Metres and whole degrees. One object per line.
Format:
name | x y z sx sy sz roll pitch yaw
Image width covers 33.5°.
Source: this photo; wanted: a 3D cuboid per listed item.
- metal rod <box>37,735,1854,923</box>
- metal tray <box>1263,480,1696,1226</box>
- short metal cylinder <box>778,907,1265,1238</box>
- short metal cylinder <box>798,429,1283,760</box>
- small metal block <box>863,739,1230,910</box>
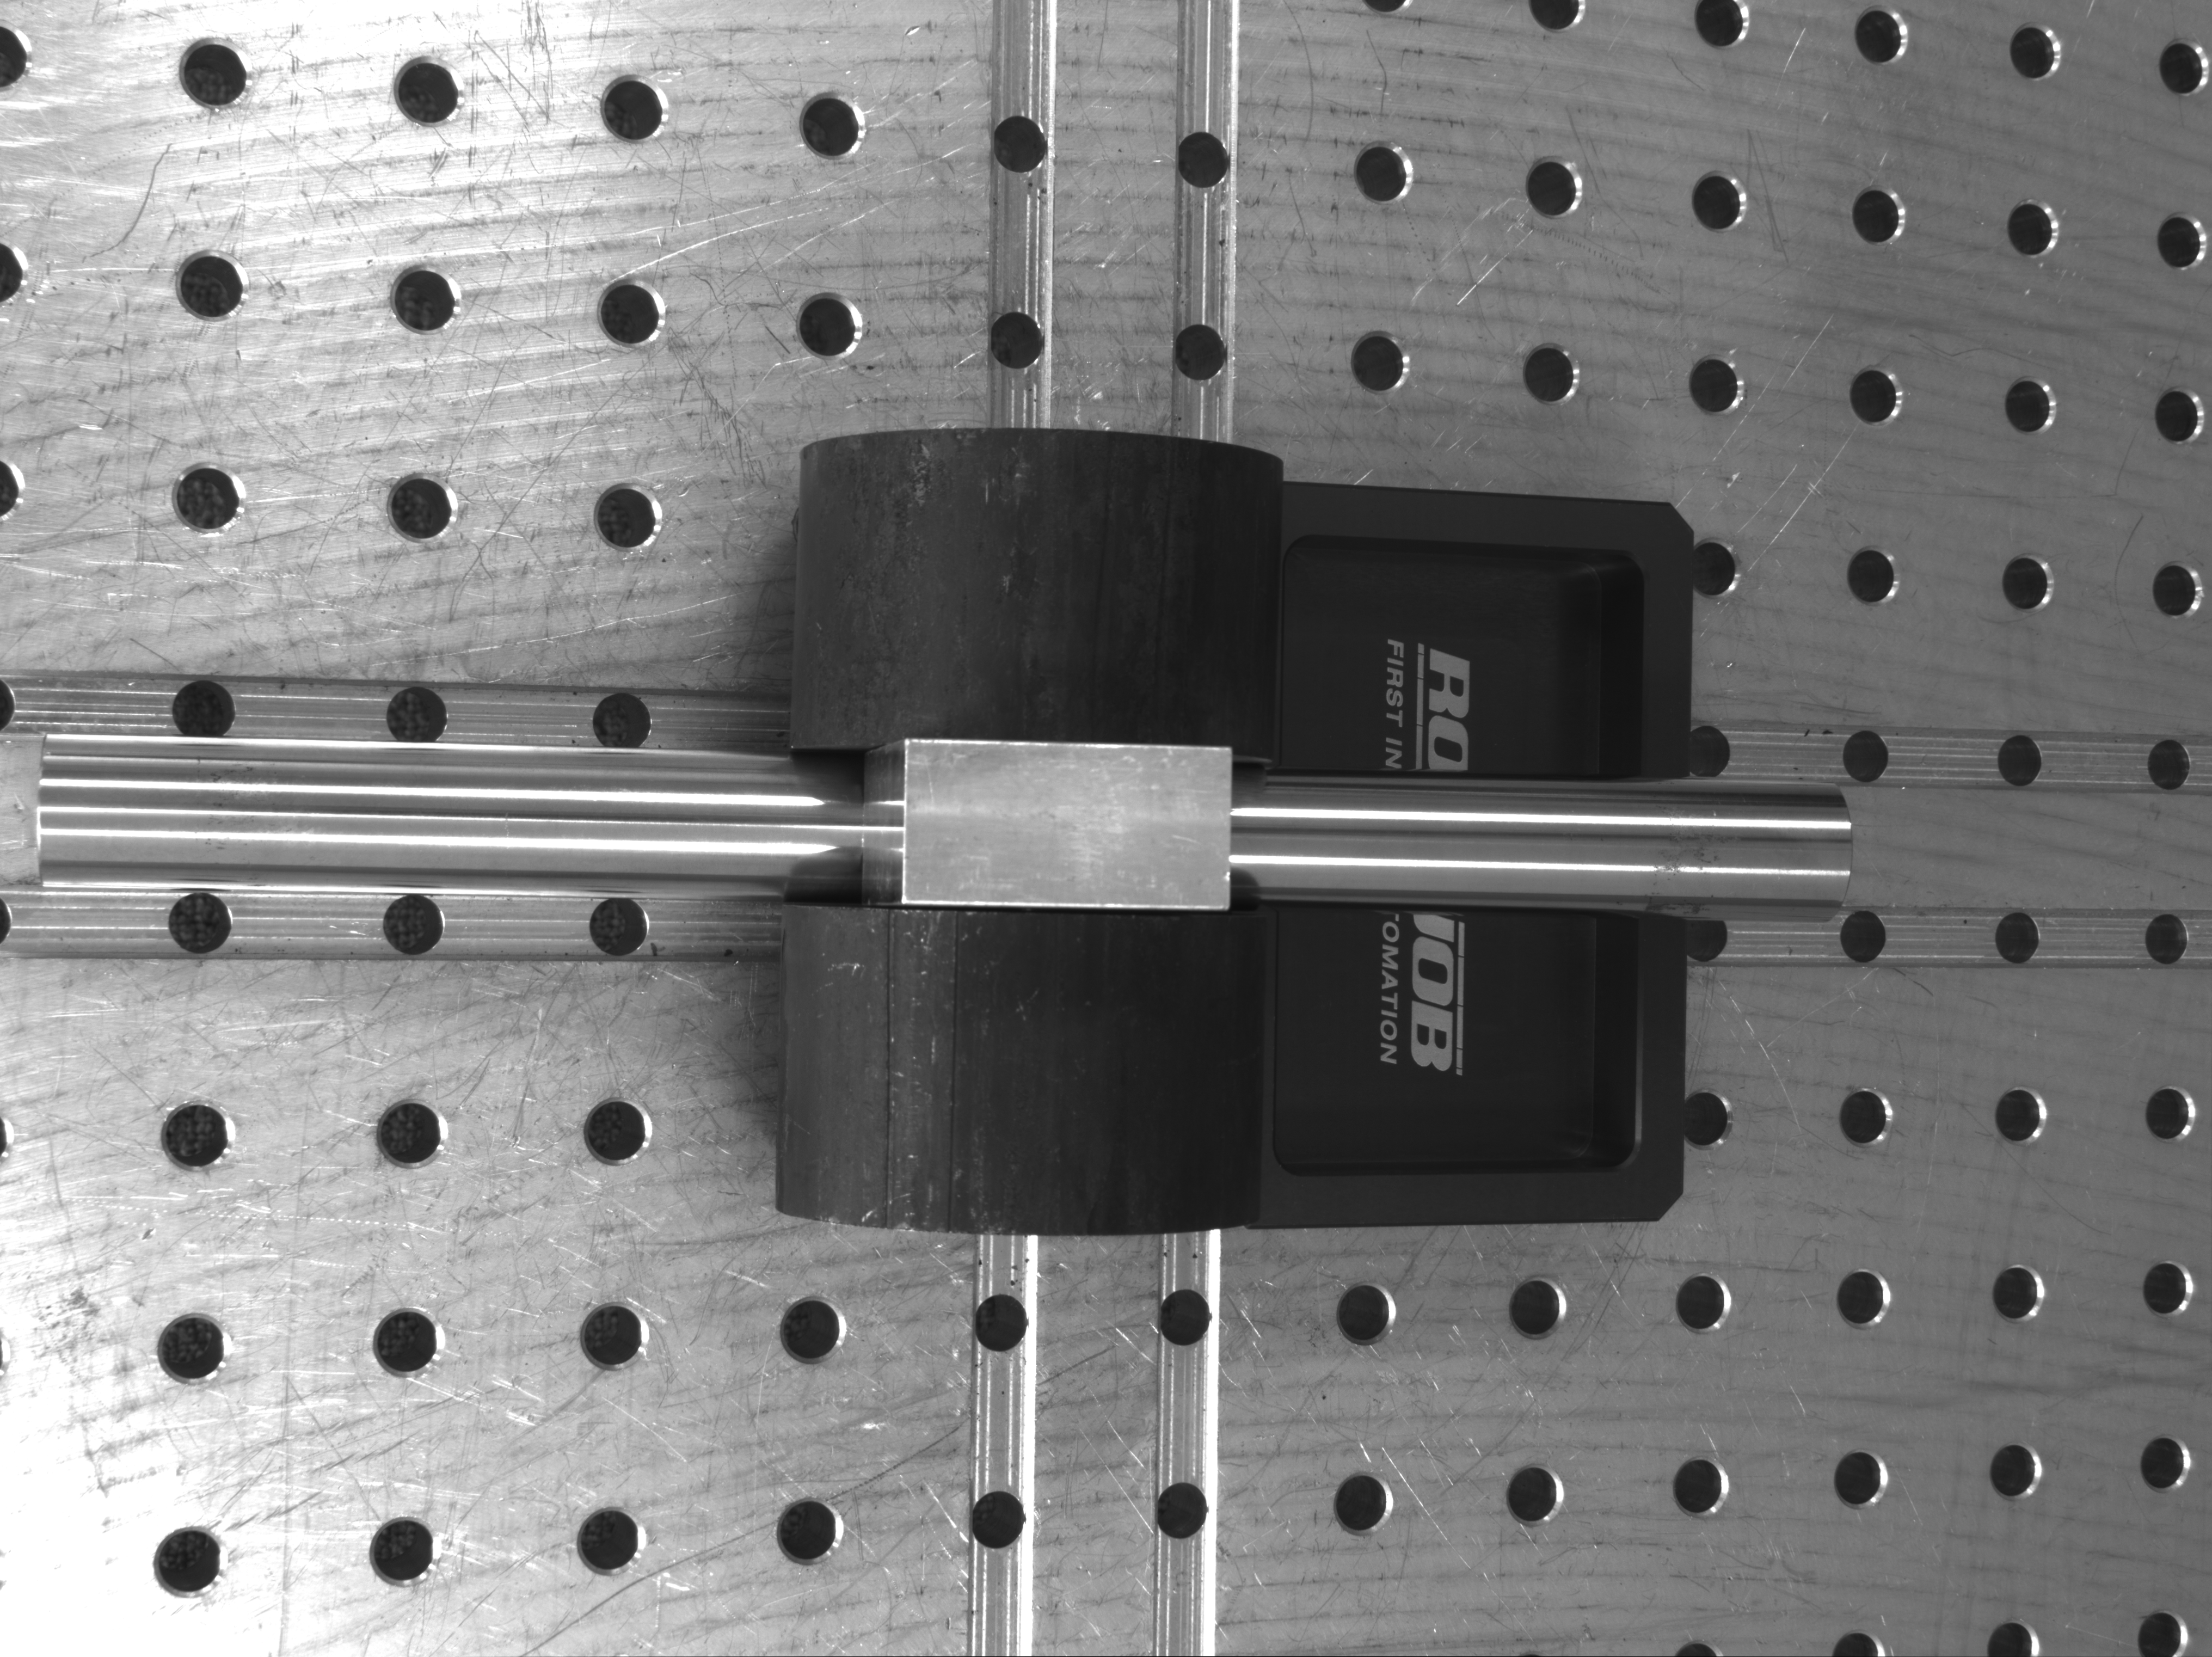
metal rod | -0.022 0.001 0.614 0.300 0.025 0.025 1 90 -11
metal tray | 0.059 0.005 0.664 0.090 0.030 0.130 1 90 -20
short metal cylinder | -0.014 0.039 0.611 0.080 0.080 0.050 2 89 -20
short metal cylinder | -0.011 -0.037 0.611 0.080 0.080 0.050 1 90 -20
small metal block | -0.011 0.000 0.578 0.050 0.050 0.025 1 90 -11
